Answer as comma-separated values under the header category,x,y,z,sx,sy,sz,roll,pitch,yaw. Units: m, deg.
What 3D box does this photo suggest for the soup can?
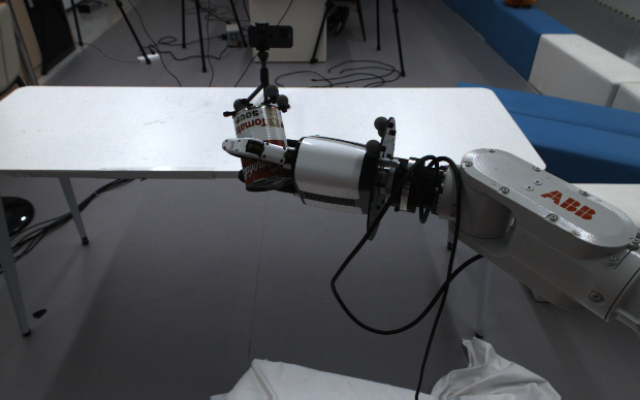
category,x,y,z,sx,sy,sz,roll,pitch,yaw
soup can,-0.074,-0.068,0.655,0.067,0.067,0.101,-10,79,-17
